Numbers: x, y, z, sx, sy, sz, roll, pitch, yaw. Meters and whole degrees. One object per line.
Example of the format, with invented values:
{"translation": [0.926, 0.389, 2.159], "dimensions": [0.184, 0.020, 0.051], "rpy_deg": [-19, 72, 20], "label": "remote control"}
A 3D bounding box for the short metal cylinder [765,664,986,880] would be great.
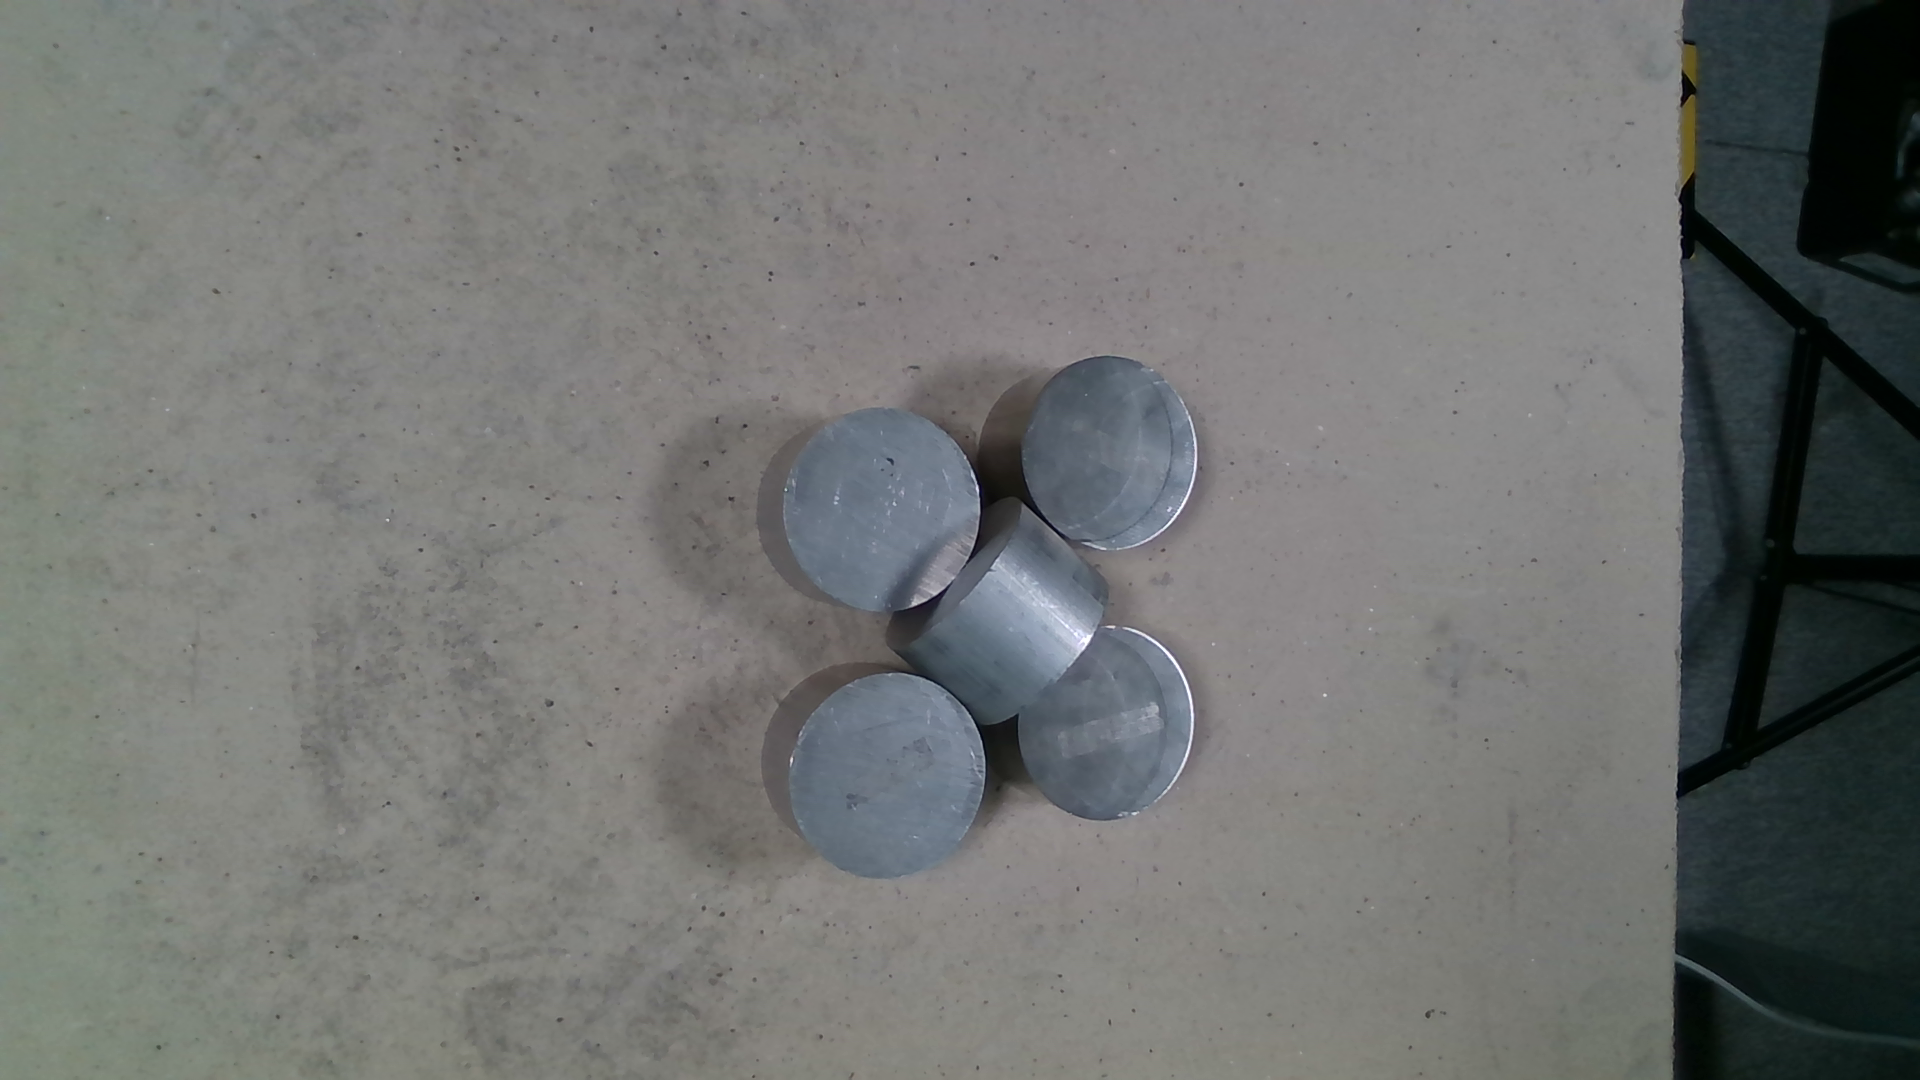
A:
{"translation": [-0.036, 0.092, 0.559], "dimensions": [0.080, 0.050, 0.080], "rpy_deg": [0, 90, -20], "label": "short metal cylinder"}

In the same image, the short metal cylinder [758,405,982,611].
{"translation": [-0.037, -0.012, 0.558], "dimensions": [0.080, 0.050, 0.080], "rpy_deg": [0, 90, -20], "label": "short metal cylinder"}

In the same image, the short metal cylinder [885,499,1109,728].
{"translation": [0.015, 0.030, 0.562], "dimensions": [0.050, 0.080, 0.080], "rpy_deg": [41, 77, -16], "label": "short metal cylinder"}

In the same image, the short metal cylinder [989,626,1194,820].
{"translation": [0.053, 0.075, 0.591], "dimensions": [0.080, 0.050, 0.080], "rpy_deg": [0, 90, -20], "label": "short metal cylinder"}

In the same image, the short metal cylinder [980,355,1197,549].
{"translation": [0.054, -0.036, 0.592], "dimensions": [0.080, 0.050, 0.080], "rpy_deg": [0, 90, -20], "label": "short metal cylinder"}
